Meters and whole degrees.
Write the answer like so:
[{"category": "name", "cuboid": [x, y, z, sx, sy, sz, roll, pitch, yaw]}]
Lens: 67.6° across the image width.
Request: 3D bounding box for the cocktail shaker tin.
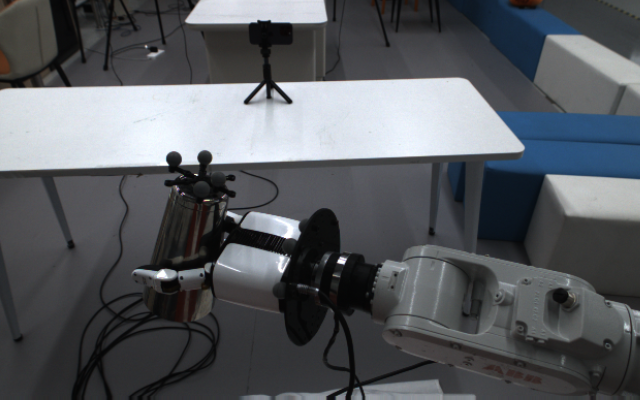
[{"category": "cocktail shaker tin", "cuboid": [-0.160, 0.055, 0.599, 0.093, 0.170, 0.093, 15, 27, -8]}]
